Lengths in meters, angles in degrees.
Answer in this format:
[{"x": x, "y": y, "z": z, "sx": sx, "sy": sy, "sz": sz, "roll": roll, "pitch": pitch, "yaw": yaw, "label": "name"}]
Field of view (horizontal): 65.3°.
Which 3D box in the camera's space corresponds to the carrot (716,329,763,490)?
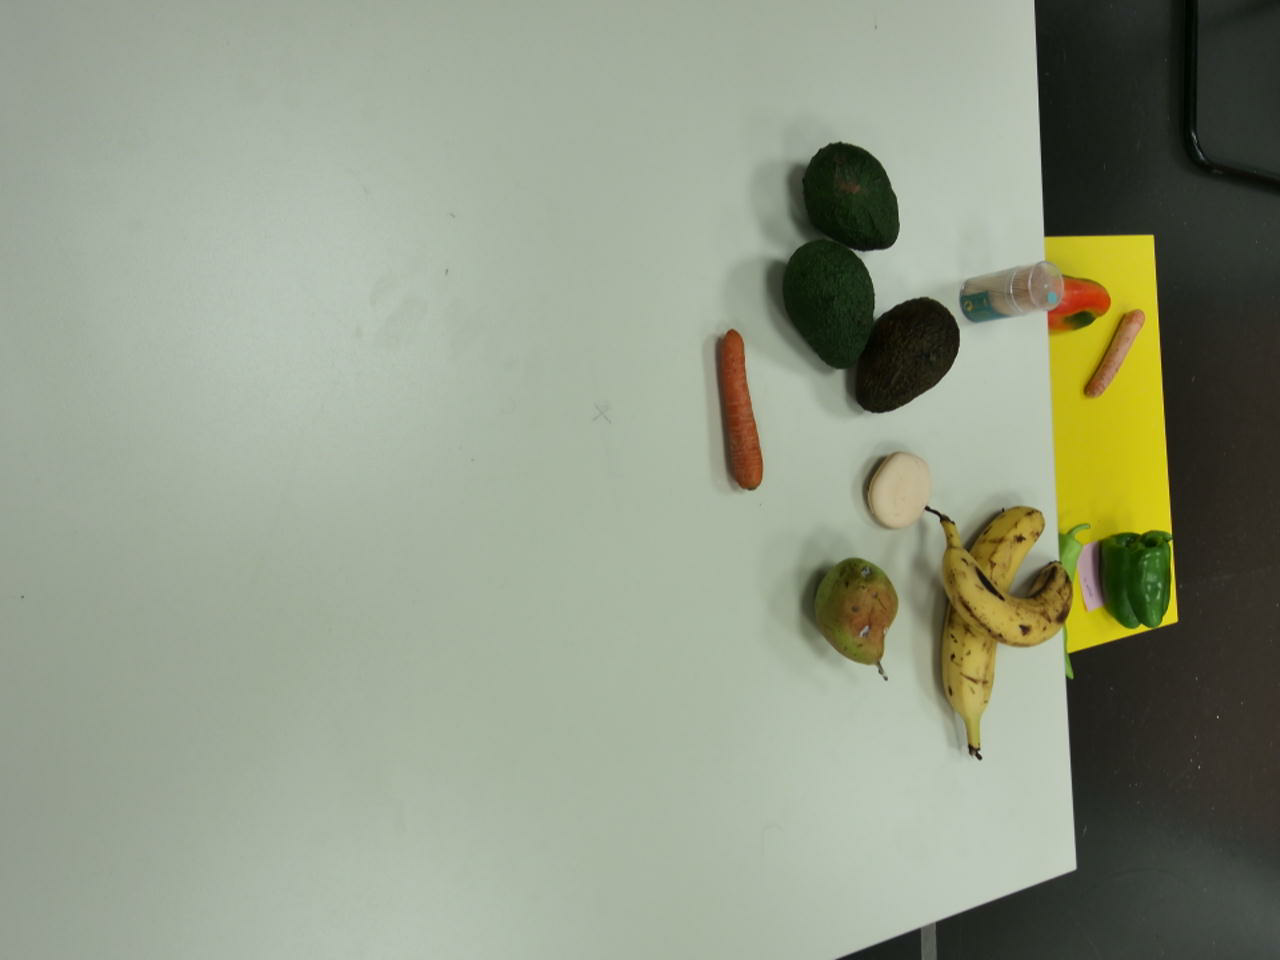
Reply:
[{"x": 0.075, "y": -0.052, "z": 0.744, "sx": 0.024, "sy": 0.023, "sz": 0.122, "roll": -7, "pitch": 94, "yaw": -28, "label": "carrot"}]
